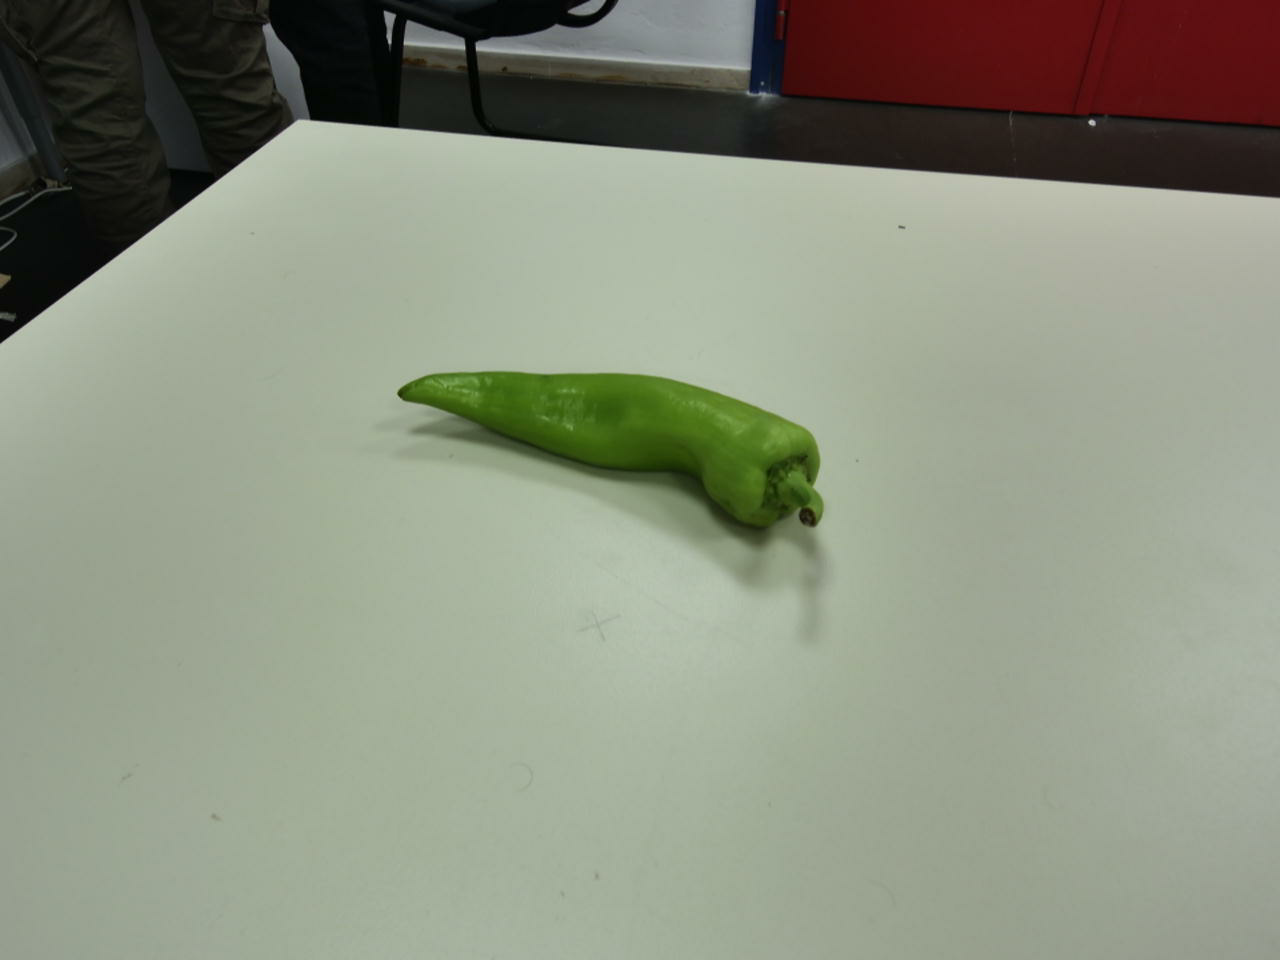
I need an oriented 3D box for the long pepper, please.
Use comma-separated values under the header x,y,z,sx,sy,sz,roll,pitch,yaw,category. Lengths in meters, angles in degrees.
x,y,z,sx,sy,sz,roll,pitch,yaw,category
-0.007,-0.024,0.441,0.205,0.045,0.065,19,42,23,long pepper
